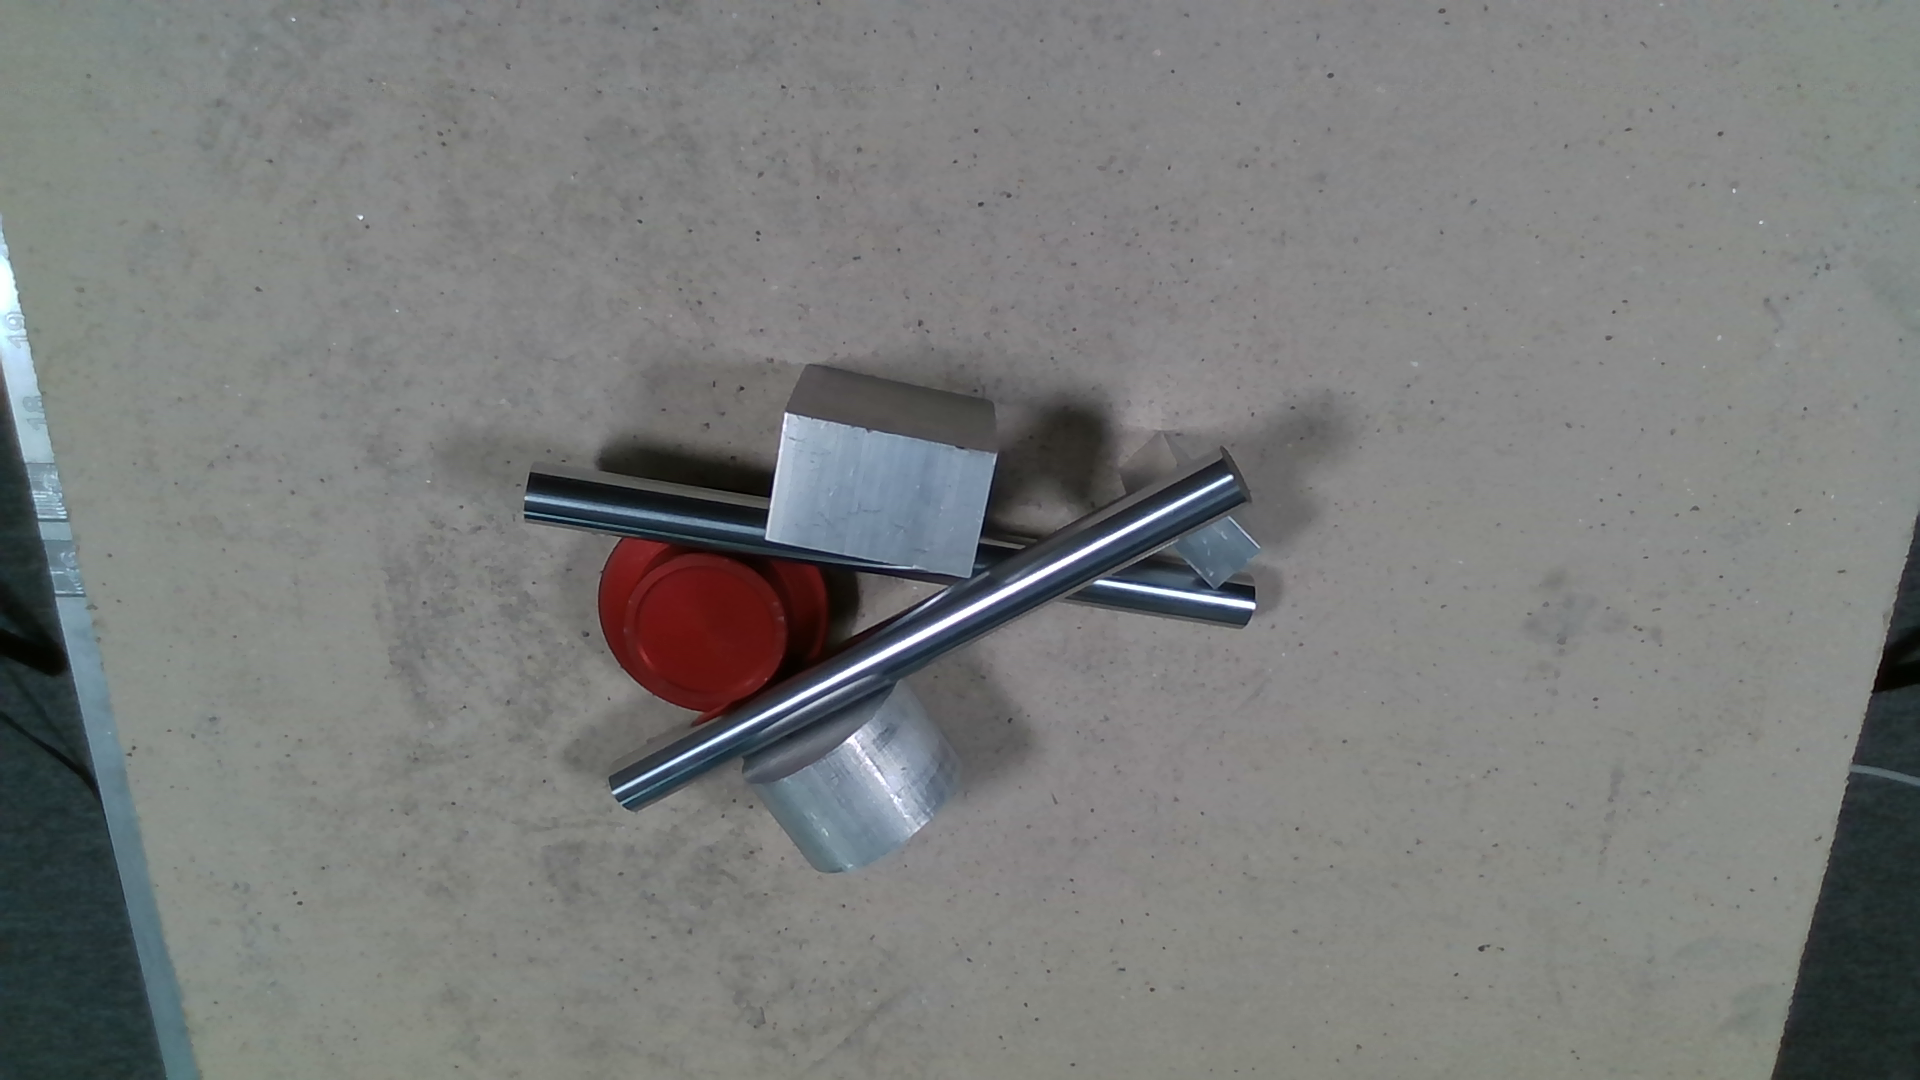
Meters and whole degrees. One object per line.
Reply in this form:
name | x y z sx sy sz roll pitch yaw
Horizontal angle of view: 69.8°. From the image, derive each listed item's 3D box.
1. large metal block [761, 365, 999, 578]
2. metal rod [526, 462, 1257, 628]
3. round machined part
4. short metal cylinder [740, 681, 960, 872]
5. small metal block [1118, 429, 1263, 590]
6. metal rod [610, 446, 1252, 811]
large metal block | -0.030 -0.030 0.545 0.080 0.080 0.050 11 110 -4
metal rod | -0.023 0.004 0.570 0.300 0.025 0.025 9 110 -10
round machined part | -0.106 0.030 0.588 0.098 0.042 0.098 0 110 0
short metal cylinder | -0.047 0.096 0.591 0.080 0.080 0.050 -30 107 11
small metal block | 0.094 -0.013 0.566 0.050 0.050 0.025 43 105 -14
metal rod | -0.022 0.042 0.564 0.300 0.025 0.025 -28 108 19
